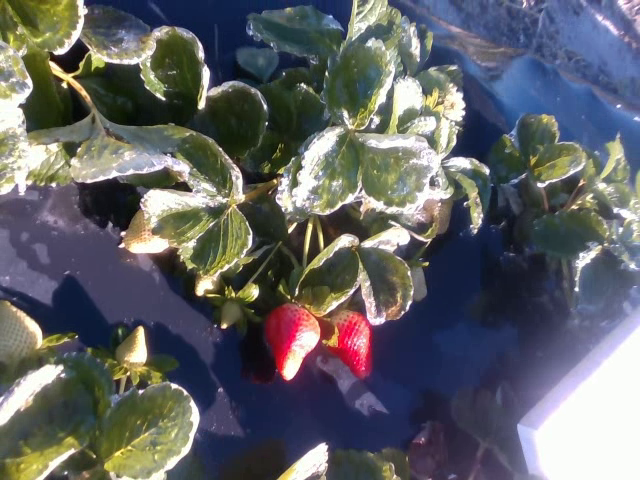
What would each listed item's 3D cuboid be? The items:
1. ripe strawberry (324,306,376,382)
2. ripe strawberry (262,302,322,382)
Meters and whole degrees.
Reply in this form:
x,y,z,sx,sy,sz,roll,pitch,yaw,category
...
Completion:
x,y,z,sx,sy,sz,roll,pitch,yaw,category
0.032,0.087,0.517,0.043,0.059,0.040,-28,13,-27,ripe strawberry
-0.019,0.086,0.497,0.052,0.070,0.040,27,-17,-38,ripe strawberry
